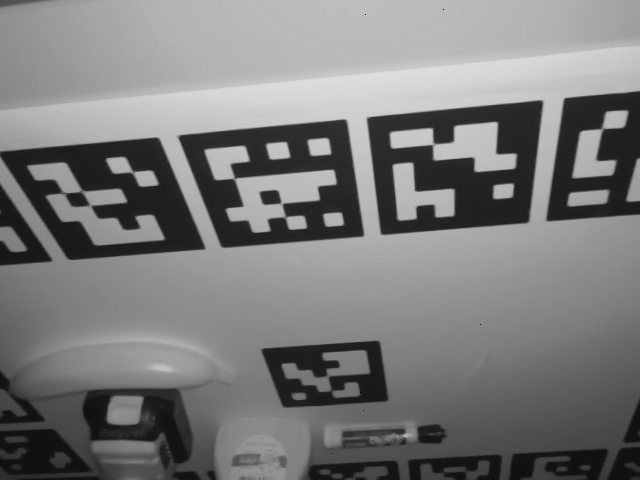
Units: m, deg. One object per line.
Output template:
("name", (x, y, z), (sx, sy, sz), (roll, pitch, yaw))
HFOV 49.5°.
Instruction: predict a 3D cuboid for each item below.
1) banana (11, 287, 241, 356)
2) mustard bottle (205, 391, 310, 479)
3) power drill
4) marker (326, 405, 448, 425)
("banana", (-0.168, 0.070, 0.595), (0.198, 0.039, 0.073), (2, 130, -3))
("mustard bottle", (-0.063, 0.232, 0.631), (0.096, 0.193, 0.058), (7, 132, -2))
("power drill", (-0.174, 0.200, 0.582), (0.057, 0.189, 0.182), (9, 134, -3))
("marker", (0.067, 0.176, 0.695), (0.121, 0.020, 0.019), (-1, 131, 2))
